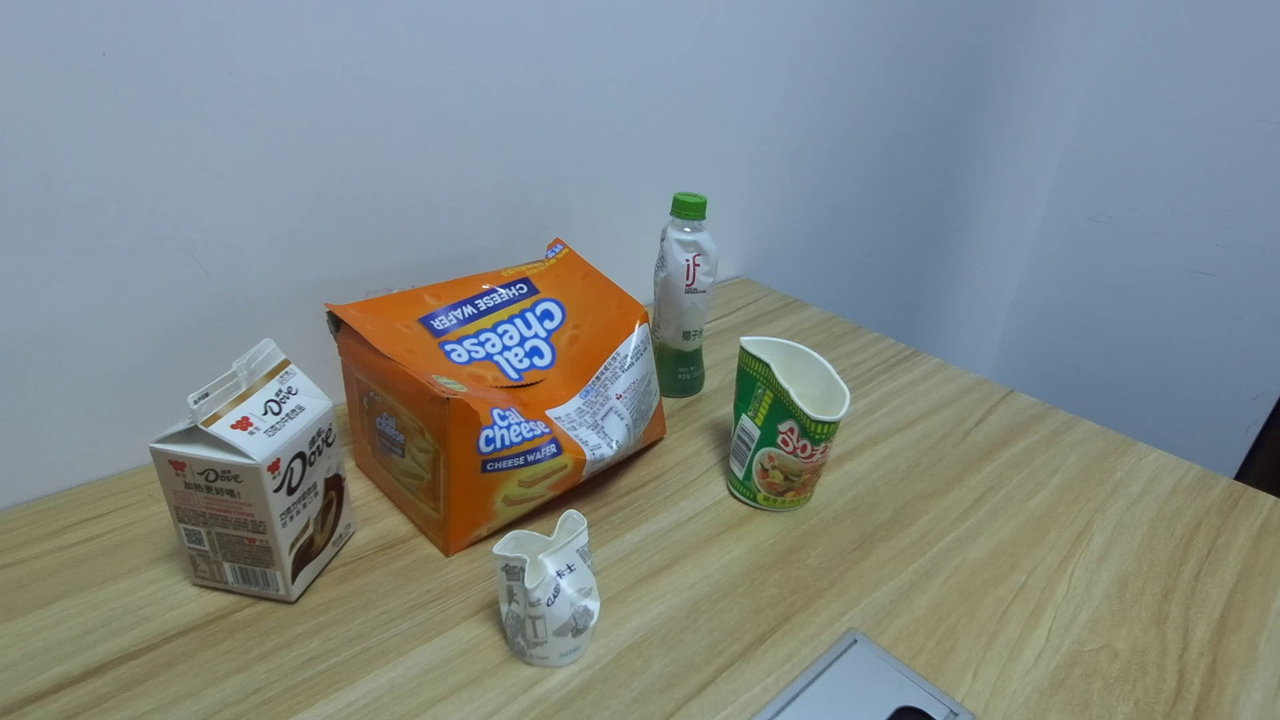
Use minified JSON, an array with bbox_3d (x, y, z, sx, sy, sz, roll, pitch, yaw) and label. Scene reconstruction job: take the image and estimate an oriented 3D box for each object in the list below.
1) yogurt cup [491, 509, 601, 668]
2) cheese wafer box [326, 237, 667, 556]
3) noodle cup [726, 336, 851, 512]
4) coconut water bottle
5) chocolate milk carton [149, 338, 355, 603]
[{"bbox_3d":[-0.054,0.134,0.415,0.055,0.072,0.055,-17,33,-30],"label":"yogurt cup"},{"bbox_3d":[-0.092,0.017,0.553,0.220,0.145,0.190,-23,38,-40],"label":"cheese wafer box"},{"bbox_3d":[0.107,0.053,0.537,0.070,0.111,0.115,3,29,2],"label":"noodle cup"},{"bbox_3d":[0.039,-0.060,0.658,0.067,0.187,0.067,4,26,-1],"label":"coconut water bottle"},{"bbox_3d":[-0.236,0.065,0.436,0.074,0.148,0.075,8,27,8],"label":"chocolate milk carton"}]
